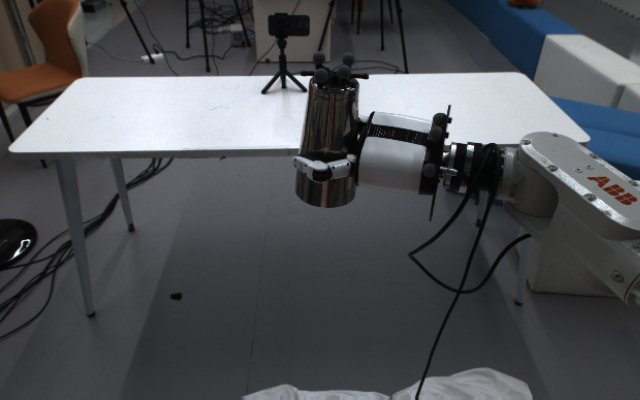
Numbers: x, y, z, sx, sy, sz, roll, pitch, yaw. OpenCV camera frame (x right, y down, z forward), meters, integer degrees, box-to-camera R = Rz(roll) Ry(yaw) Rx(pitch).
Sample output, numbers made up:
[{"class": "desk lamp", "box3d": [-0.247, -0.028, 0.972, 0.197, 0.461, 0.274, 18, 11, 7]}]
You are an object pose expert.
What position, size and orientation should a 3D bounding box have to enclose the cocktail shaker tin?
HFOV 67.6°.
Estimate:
[{"class": "cocktail shaker tin", "box3d": [0.015, -0.086, 0.679, 0.093, 0.170, 0.093, 3, 34, -2]}]
